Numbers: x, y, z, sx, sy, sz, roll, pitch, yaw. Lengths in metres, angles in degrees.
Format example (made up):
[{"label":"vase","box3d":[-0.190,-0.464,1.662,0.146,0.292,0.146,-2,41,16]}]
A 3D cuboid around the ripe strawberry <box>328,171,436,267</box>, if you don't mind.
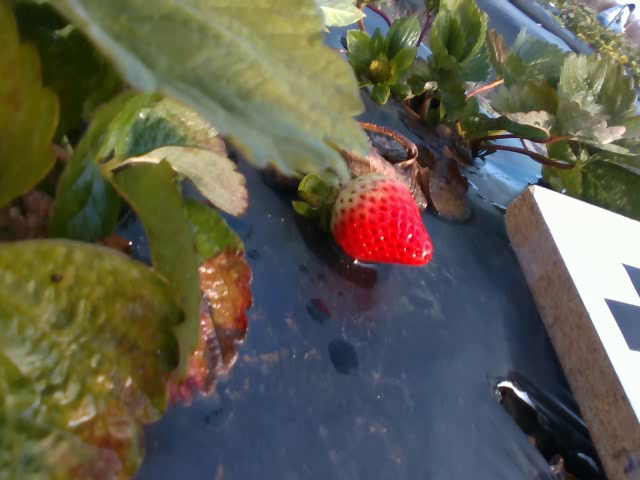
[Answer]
[{"label":"ripe strawberry","box3d":[0.022,-0.005,0.207,0.035,0.043,0.030,-23,-26,-47]}]
